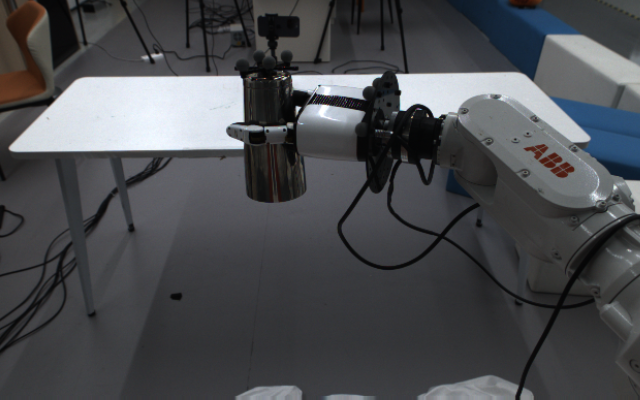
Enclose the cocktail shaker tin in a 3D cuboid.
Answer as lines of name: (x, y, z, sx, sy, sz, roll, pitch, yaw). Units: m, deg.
cocktail shaker tin: (-0.067, -0.093, 0.689, 0.093, 0.170, 0.093, -2, 26, 1)
